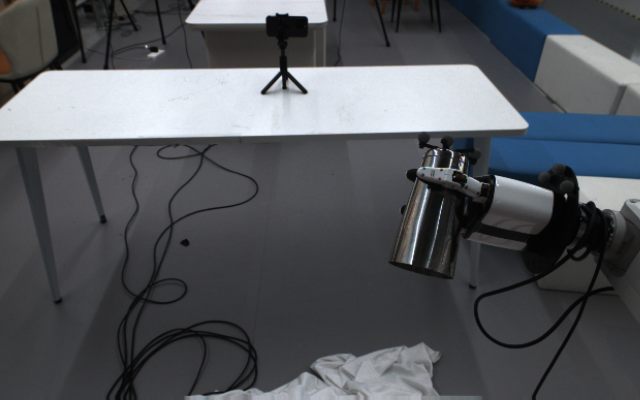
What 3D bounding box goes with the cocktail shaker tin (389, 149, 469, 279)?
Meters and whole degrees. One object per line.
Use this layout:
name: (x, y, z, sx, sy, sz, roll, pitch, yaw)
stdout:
cocktail shaker tin: (0.165, 0.015, 0.689, 0.093, 0.093, 0.170, 13, 79, 15)
